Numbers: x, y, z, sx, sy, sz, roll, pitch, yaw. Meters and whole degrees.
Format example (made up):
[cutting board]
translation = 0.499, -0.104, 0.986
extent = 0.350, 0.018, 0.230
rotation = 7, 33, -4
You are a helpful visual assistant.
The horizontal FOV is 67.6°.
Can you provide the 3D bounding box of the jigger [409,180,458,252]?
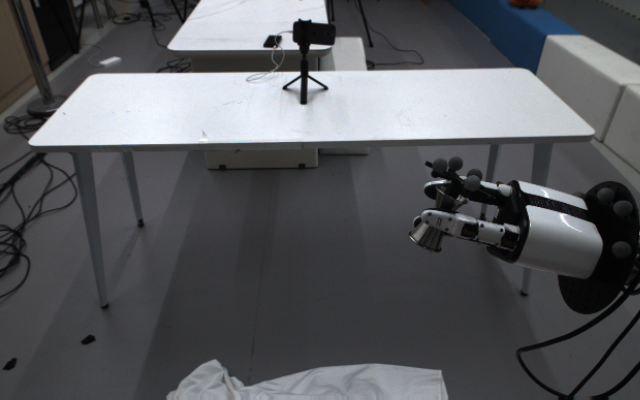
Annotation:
[jigger]
translation = 0.138, 0.021, 0.572
extent = 0.043, 0.071, 0.043
rotation = 23, 19, -8
